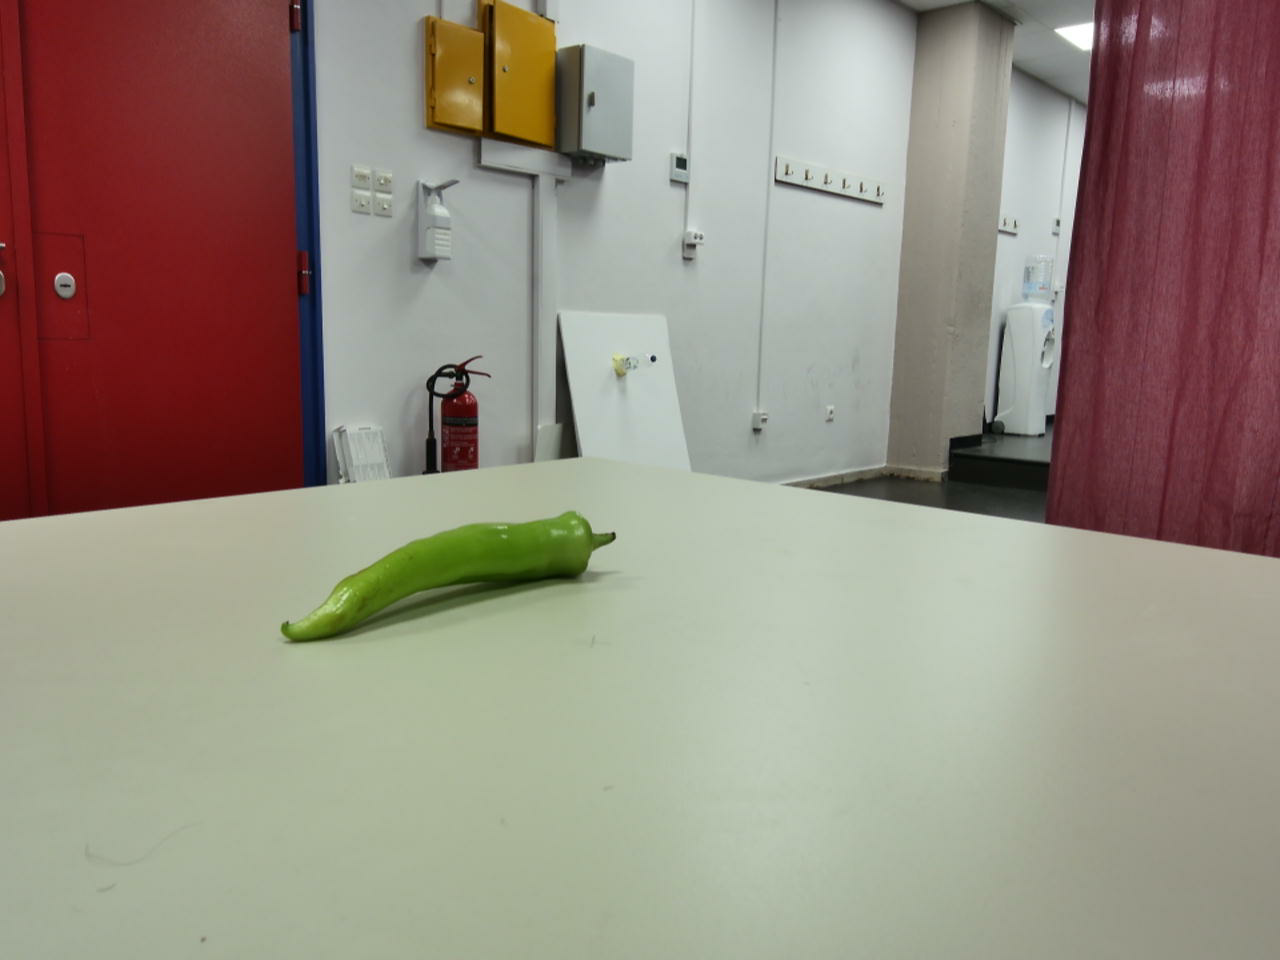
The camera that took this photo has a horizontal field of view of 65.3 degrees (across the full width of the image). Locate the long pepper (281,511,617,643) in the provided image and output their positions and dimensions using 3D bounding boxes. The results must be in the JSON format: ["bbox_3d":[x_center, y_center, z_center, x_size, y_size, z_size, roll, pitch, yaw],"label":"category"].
[{"bbox_3d":[-0.094,0.043,0.510,0.047,0.038,0.197,6,9,43],"label":"long pepper"}]
